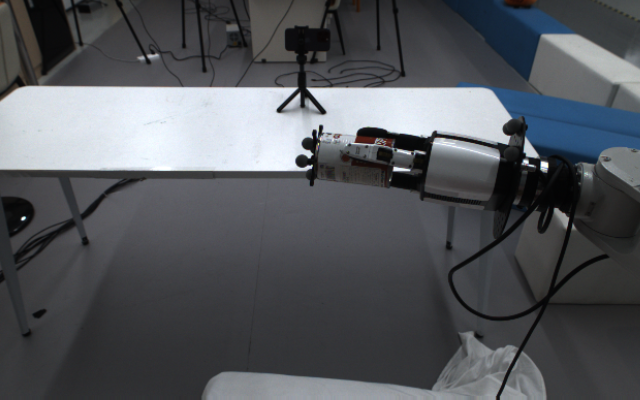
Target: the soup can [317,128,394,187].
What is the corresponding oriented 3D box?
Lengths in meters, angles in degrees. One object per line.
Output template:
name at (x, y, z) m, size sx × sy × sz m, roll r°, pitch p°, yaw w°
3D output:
soup can at (0.051, -0.056, 0.665) m, size 0.101 × 0.067 × 0.067 m, roll 6°, pitch 35°, yaw 10°
